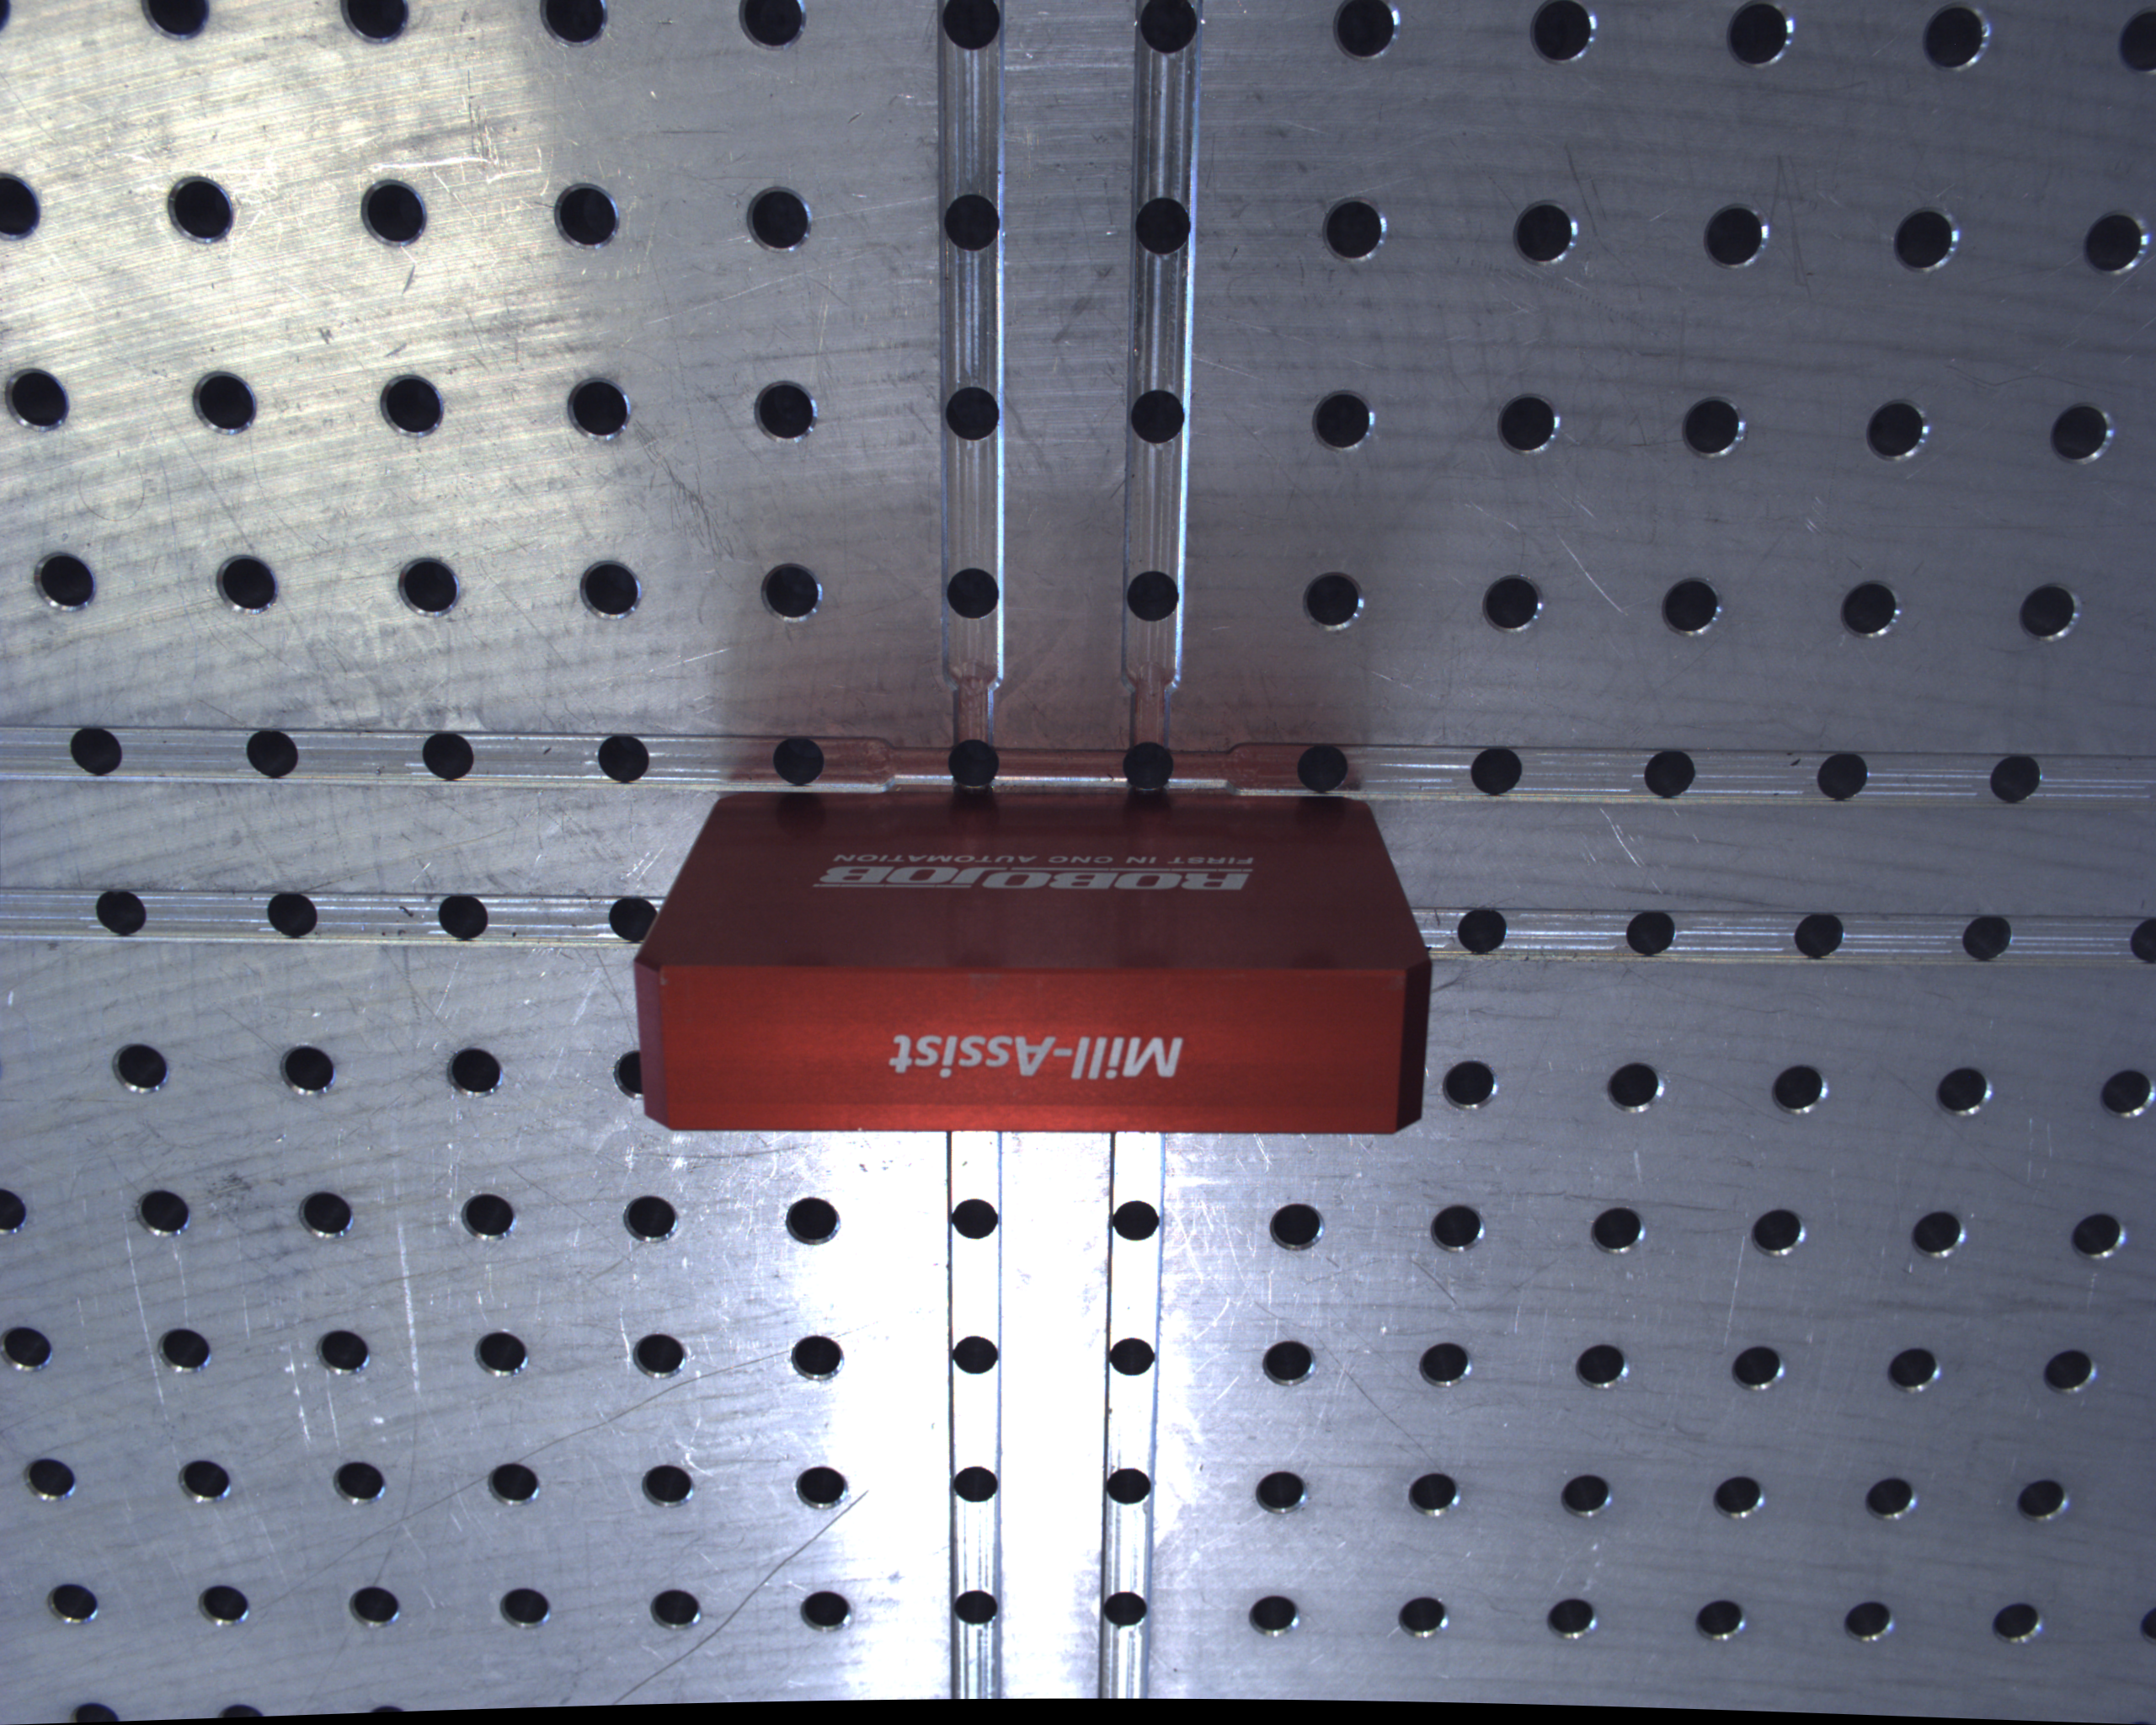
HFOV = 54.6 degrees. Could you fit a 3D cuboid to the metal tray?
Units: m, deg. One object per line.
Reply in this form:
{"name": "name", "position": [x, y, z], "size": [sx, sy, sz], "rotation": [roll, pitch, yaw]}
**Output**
{"name": "metal tray", "position": [-0.007, 0.016, 0.384], "size": [0.131, 0.090, 0.030], "rotation": [0, 110, 0]}
